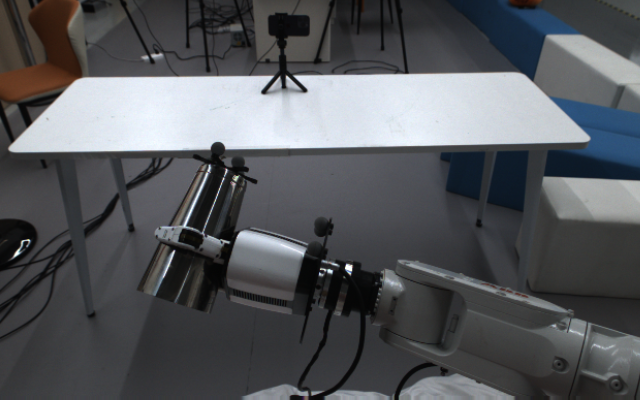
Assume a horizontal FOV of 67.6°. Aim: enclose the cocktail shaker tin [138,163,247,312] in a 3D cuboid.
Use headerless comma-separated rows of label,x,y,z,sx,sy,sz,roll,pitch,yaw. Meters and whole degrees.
cocktail shaker tin,-0.152,0.046,0.604,0.093,0.093,0.170,14,74,17
